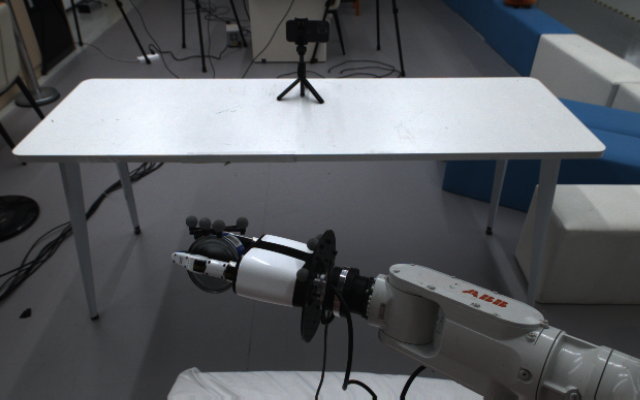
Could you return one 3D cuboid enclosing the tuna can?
[{"bbox_3d":[-0.148,0.092,0.705,0.085,0.085,0.034,11,7,13],"label":"tuna can"}]
